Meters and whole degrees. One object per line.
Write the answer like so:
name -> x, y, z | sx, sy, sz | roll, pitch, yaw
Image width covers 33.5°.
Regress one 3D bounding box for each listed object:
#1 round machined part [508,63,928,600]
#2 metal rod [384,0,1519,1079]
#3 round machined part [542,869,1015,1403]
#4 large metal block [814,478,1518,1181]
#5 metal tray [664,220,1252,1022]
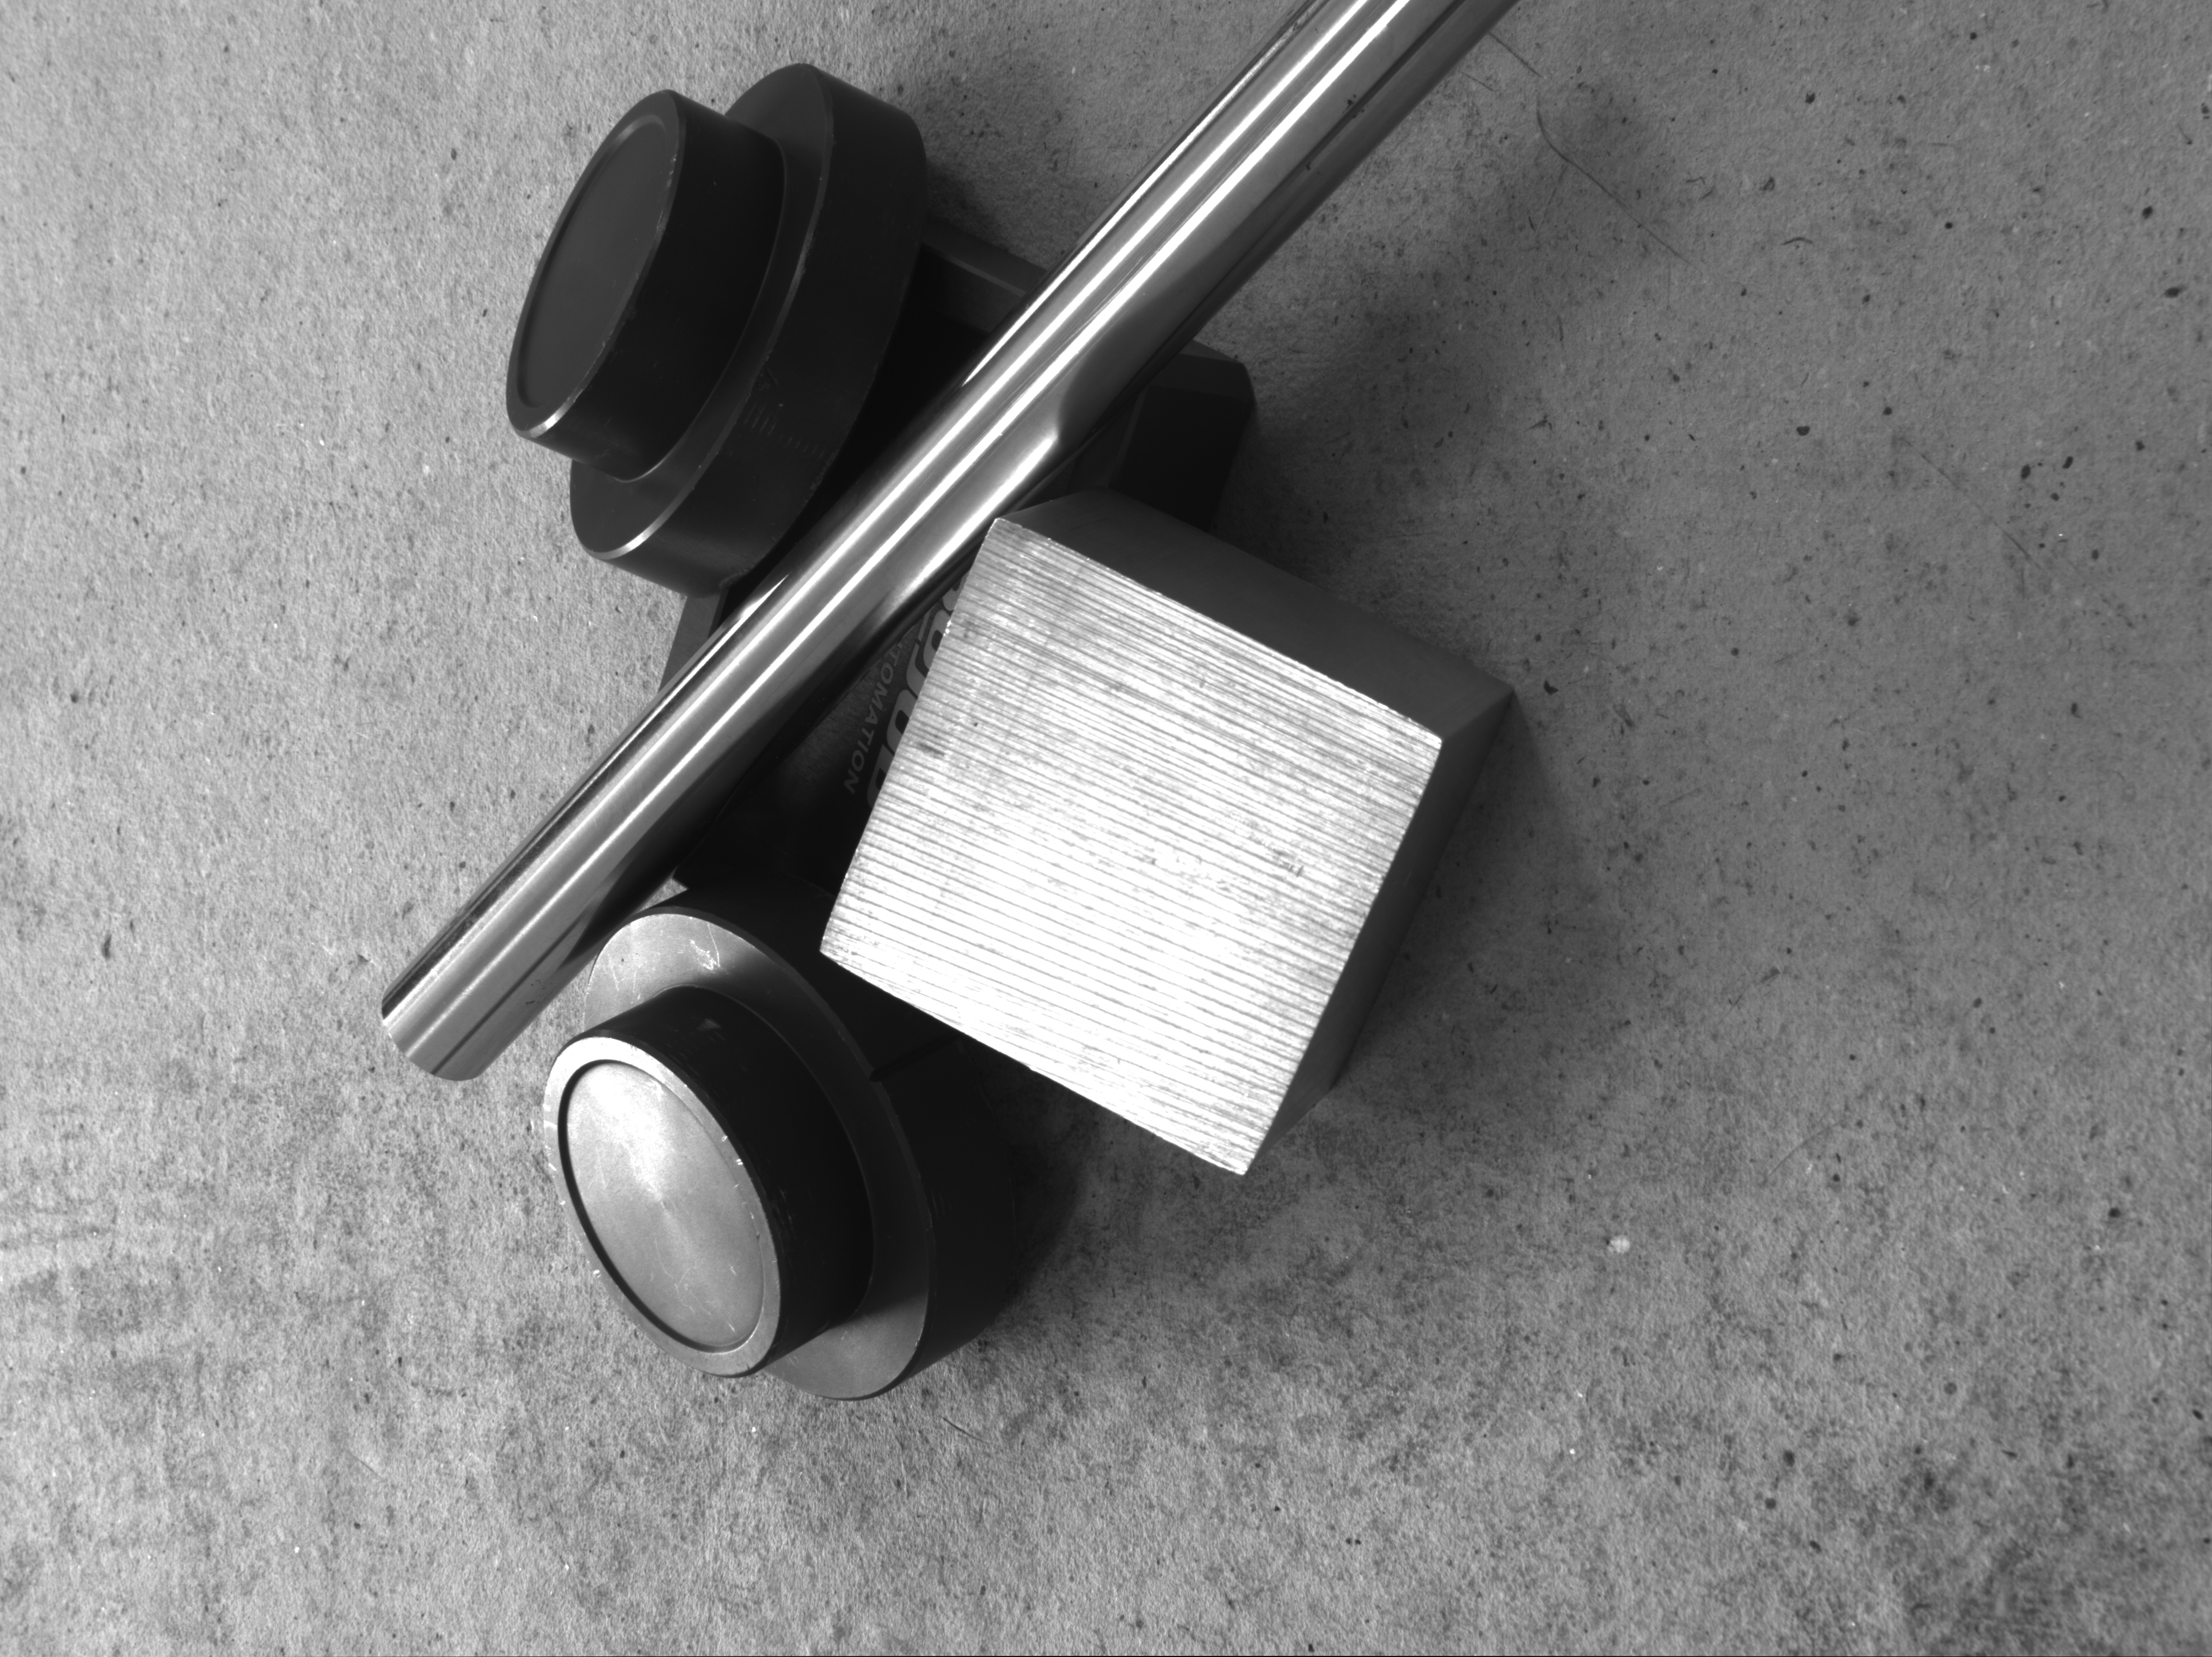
round machined part -> -0.075, -0.095, 0.672 | 0.098, 0.042, 0.098 | -42, 36, 42
metal rod -> -0.037, -0.049, 0.639 | 0.299, 0.025, 0.025 | -43, 64, 32
round machined part -> -0.065, 0.060, 0.667 | 0.098, 0.042, 0.098 | 25, 127, 38
large metal block -> 0.010, -0.002, 0.602 | 0.080, 0.050, 0.080 | 27, 108, 11
metal tray -> -0.034, -0.039, 0.671 | 0.090, 0.030, 0.130 | 31, 109, 36
